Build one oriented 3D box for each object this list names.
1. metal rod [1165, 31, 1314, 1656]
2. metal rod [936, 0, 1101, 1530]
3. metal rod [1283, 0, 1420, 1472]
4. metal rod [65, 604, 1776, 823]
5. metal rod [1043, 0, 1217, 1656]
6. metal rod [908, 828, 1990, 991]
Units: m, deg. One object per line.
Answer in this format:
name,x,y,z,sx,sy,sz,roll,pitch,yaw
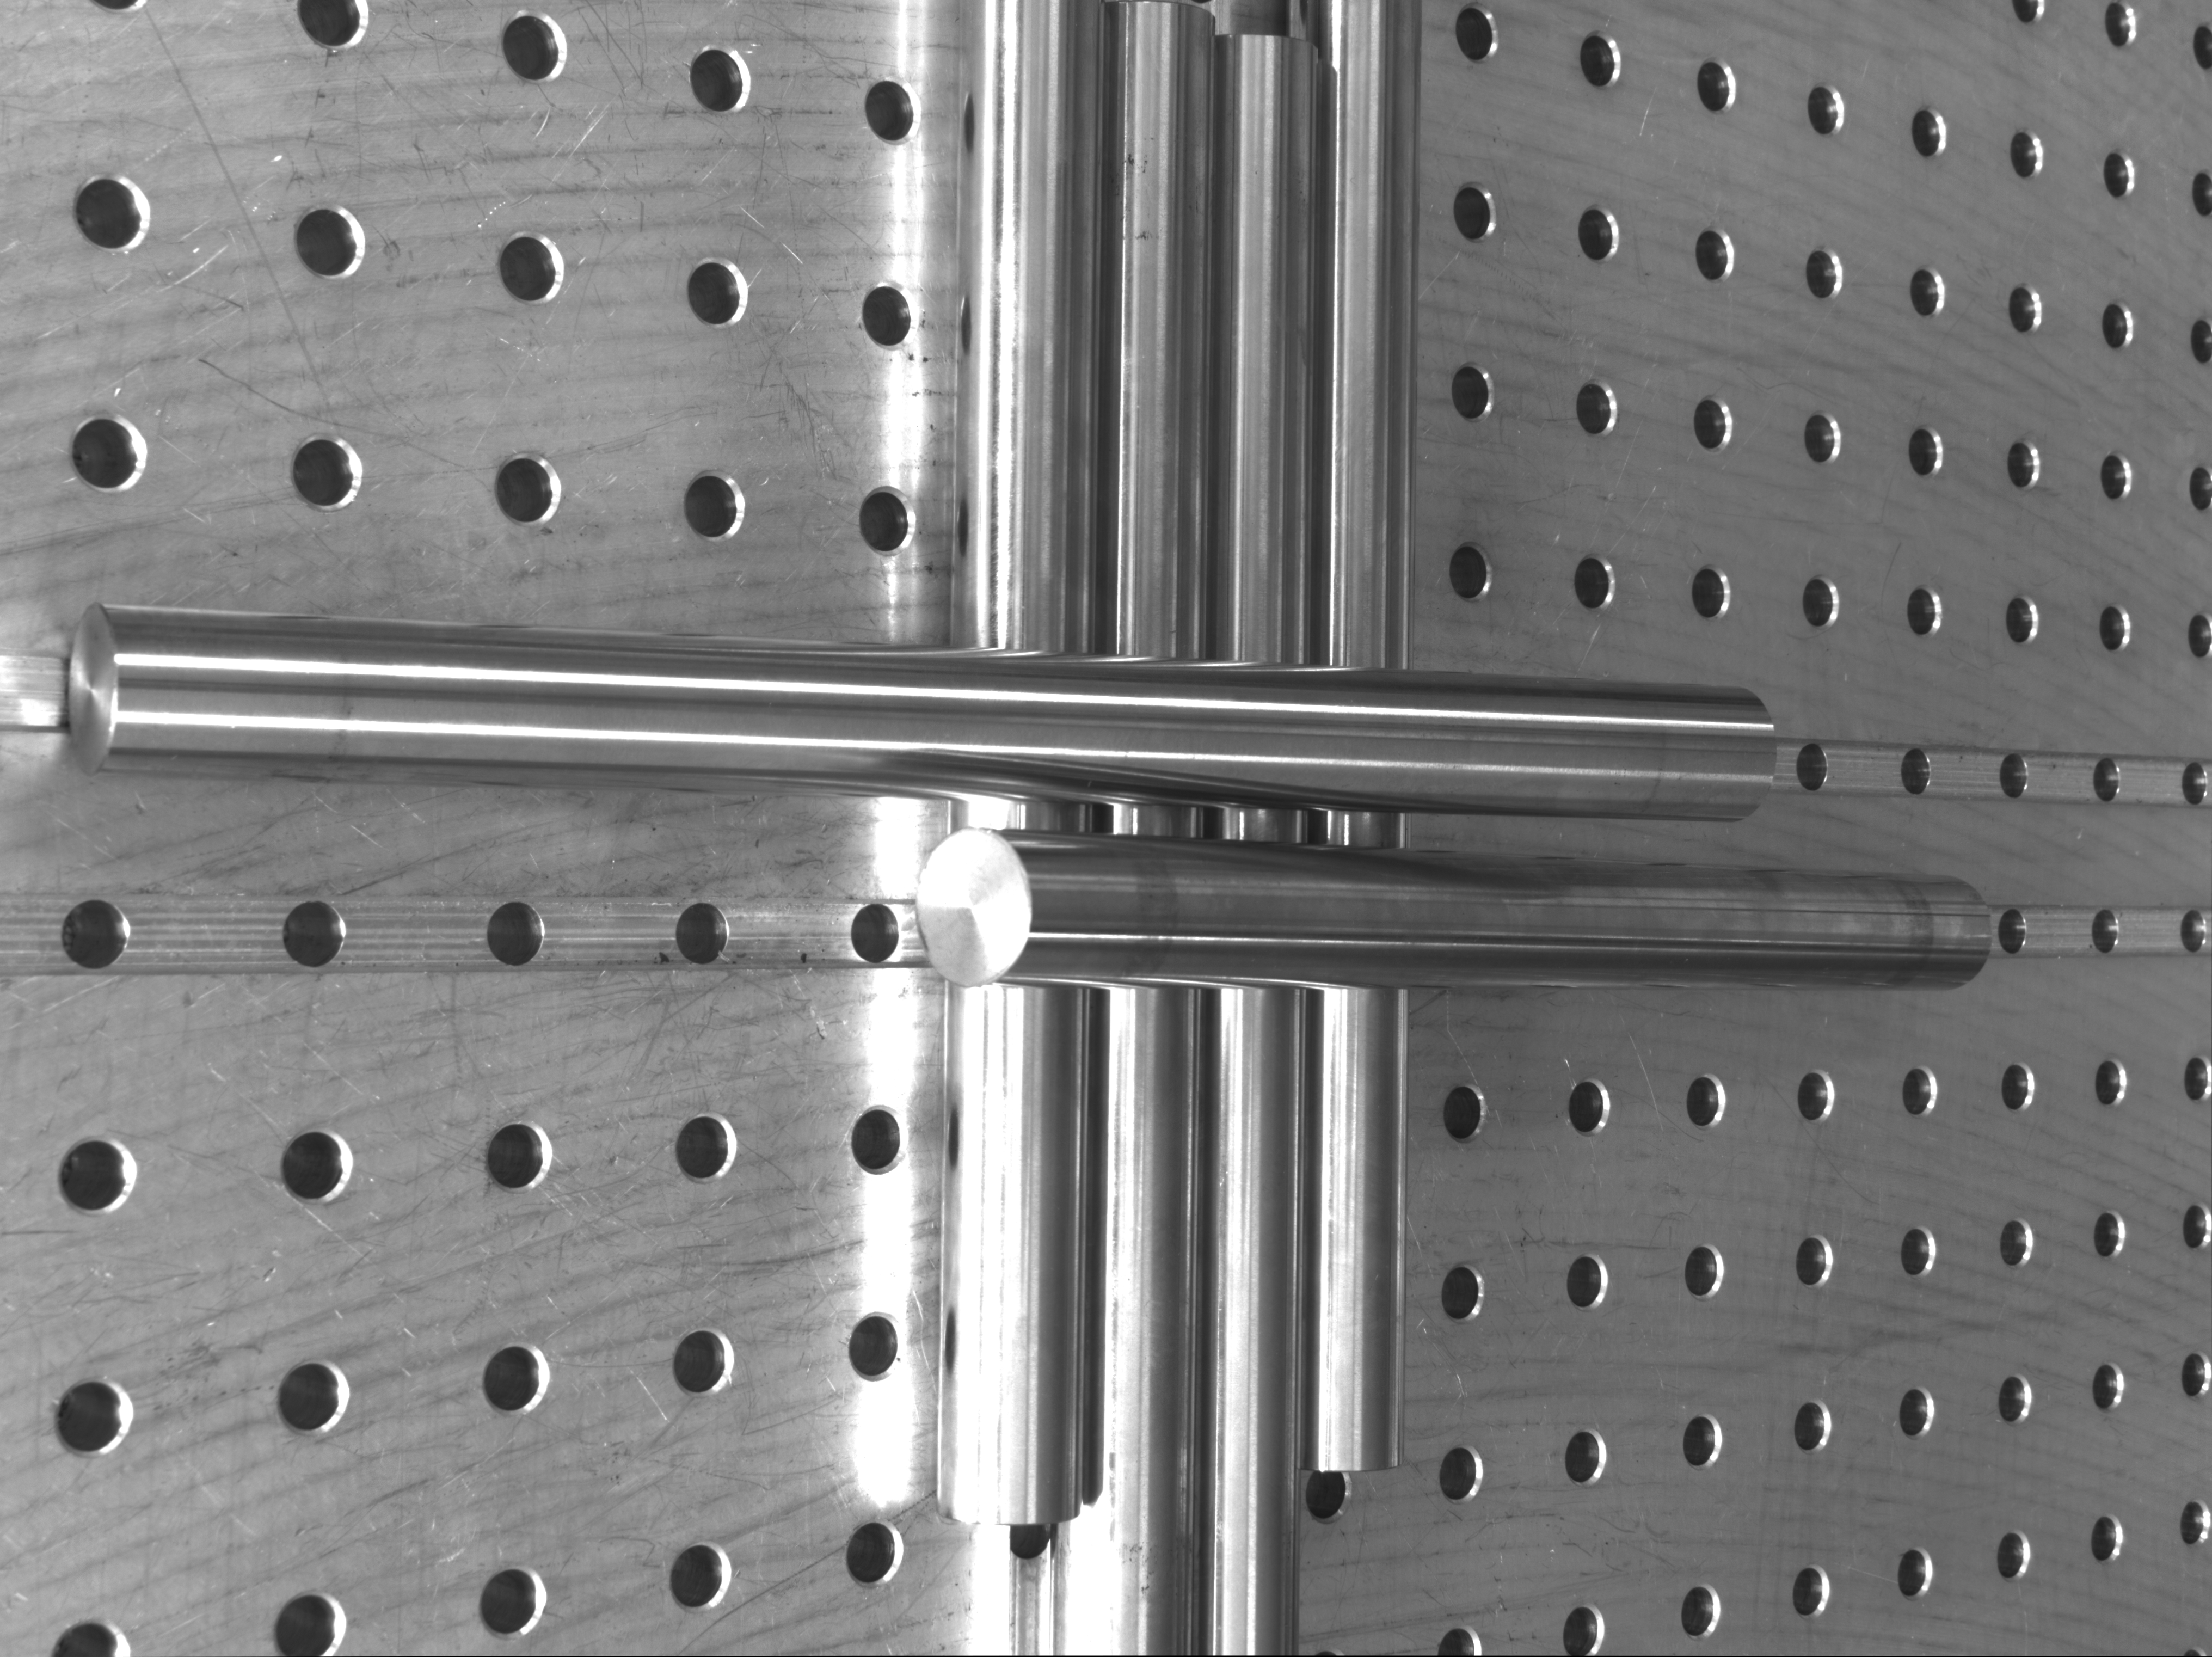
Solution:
metal rod,0.023,0.009,0.659,0.025,0.025,0.300,1,89,-40
metal rod,-0.015,-0.033,0.626,0.025,0.025,0.300,1,89,-40
metal rod,0.044,-0.034,0.675,0.025,0.025,0.300,1,89,-40
metal rod,-0.015,-0.016,0.597,0.301,0.025,0.025,1,89,-31
metal rod,0.004,0.008,0.641,0.025,0.025,0.300,2,89,-40
metal rod,0.079,0.017,0.678,0.301,0.025,0.025,3,88,-48
